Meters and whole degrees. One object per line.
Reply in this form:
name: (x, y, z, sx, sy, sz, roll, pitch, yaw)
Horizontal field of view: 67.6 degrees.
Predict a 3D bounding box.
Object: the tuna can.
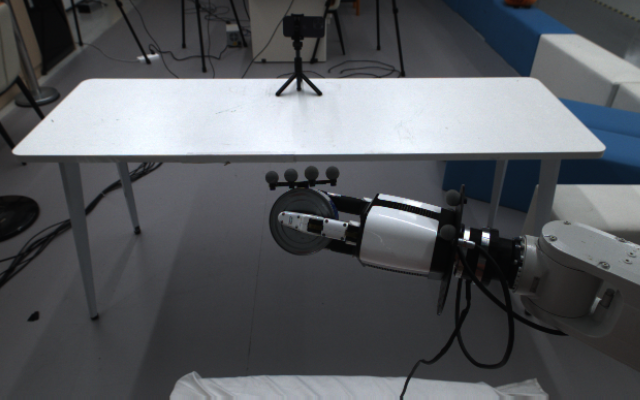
tuna can: (-0.017, 0.031, 0.616, 0.085, 0.085, 0.034, 10, 3, 11)
